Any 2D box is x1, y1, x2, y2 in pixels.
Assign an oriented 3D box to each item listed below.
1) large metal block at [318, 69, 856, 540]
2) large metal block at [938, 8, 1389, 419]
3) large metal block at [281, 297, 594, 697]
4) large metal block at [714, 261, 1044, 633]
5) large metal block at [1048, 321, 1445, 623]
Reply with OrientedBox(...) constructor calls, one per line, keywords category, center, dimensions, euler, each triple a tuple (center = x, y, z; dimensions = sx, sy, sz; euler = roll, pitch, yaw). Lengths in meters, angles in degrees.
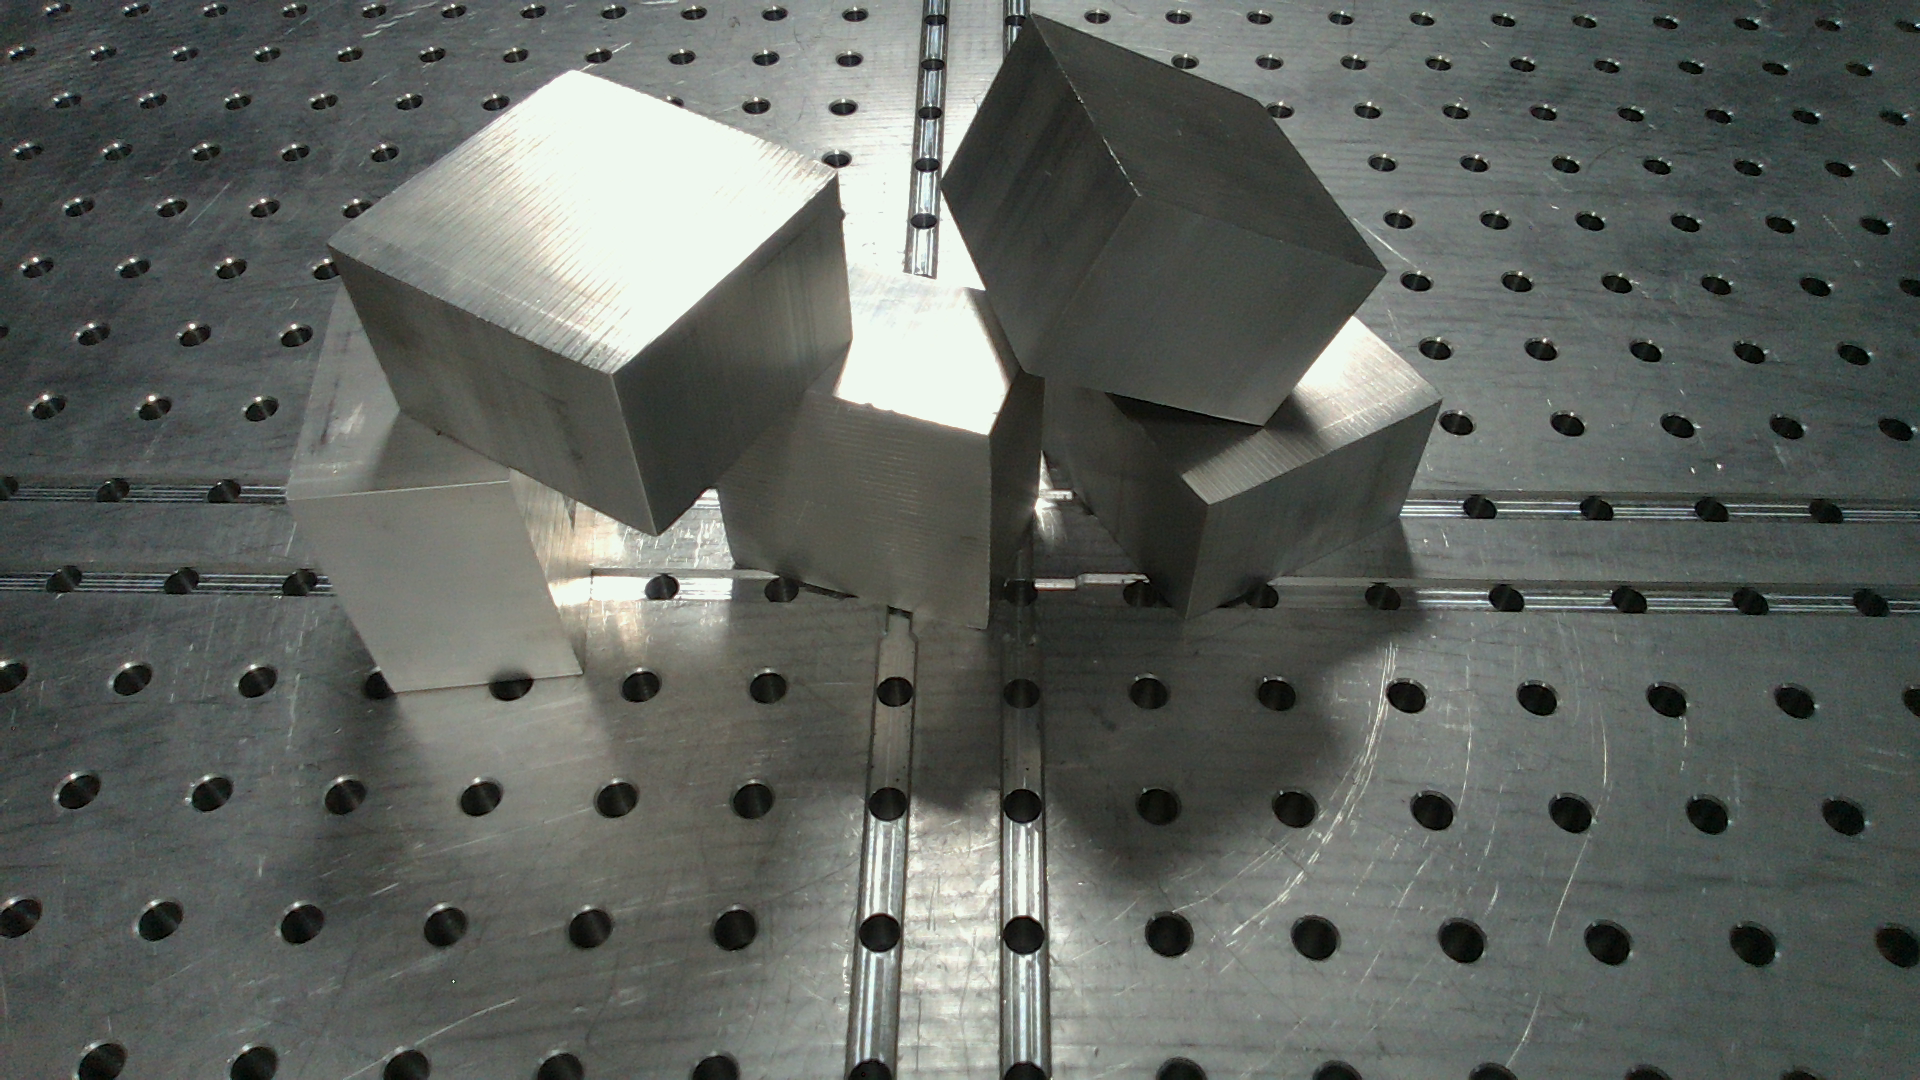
OrientedBox(category="large metal block", center=(-0.082, -0.058, 0.321), dimensions=(0.080, 0.050, 0.080), euler=(24, 54, 20))
OrientedBox(category="large metal block", center=(0.050, -0.084, 0.359), dimensions=(0.080, 0.050, 0.080), euler=(8, 44, -32))
OrientedBox(category="large metal block", center=(-0.134, -0.016, 0.371), dimensions=(0.050, 0.080, 0.080), euler=(-5, 50, -4))
OrientedBox(category="large metal block", center=(-0.022, -0.027, 0.381), dimensions=(0.080, 0.080, 0.050), euler=(14, 51, 12))
OrientedBox(category="large metal block", center=(0.079, -0.034, 0.407), dimensions=(0.080, 0.050, 0.080), euler=(-24, 54, -19))
